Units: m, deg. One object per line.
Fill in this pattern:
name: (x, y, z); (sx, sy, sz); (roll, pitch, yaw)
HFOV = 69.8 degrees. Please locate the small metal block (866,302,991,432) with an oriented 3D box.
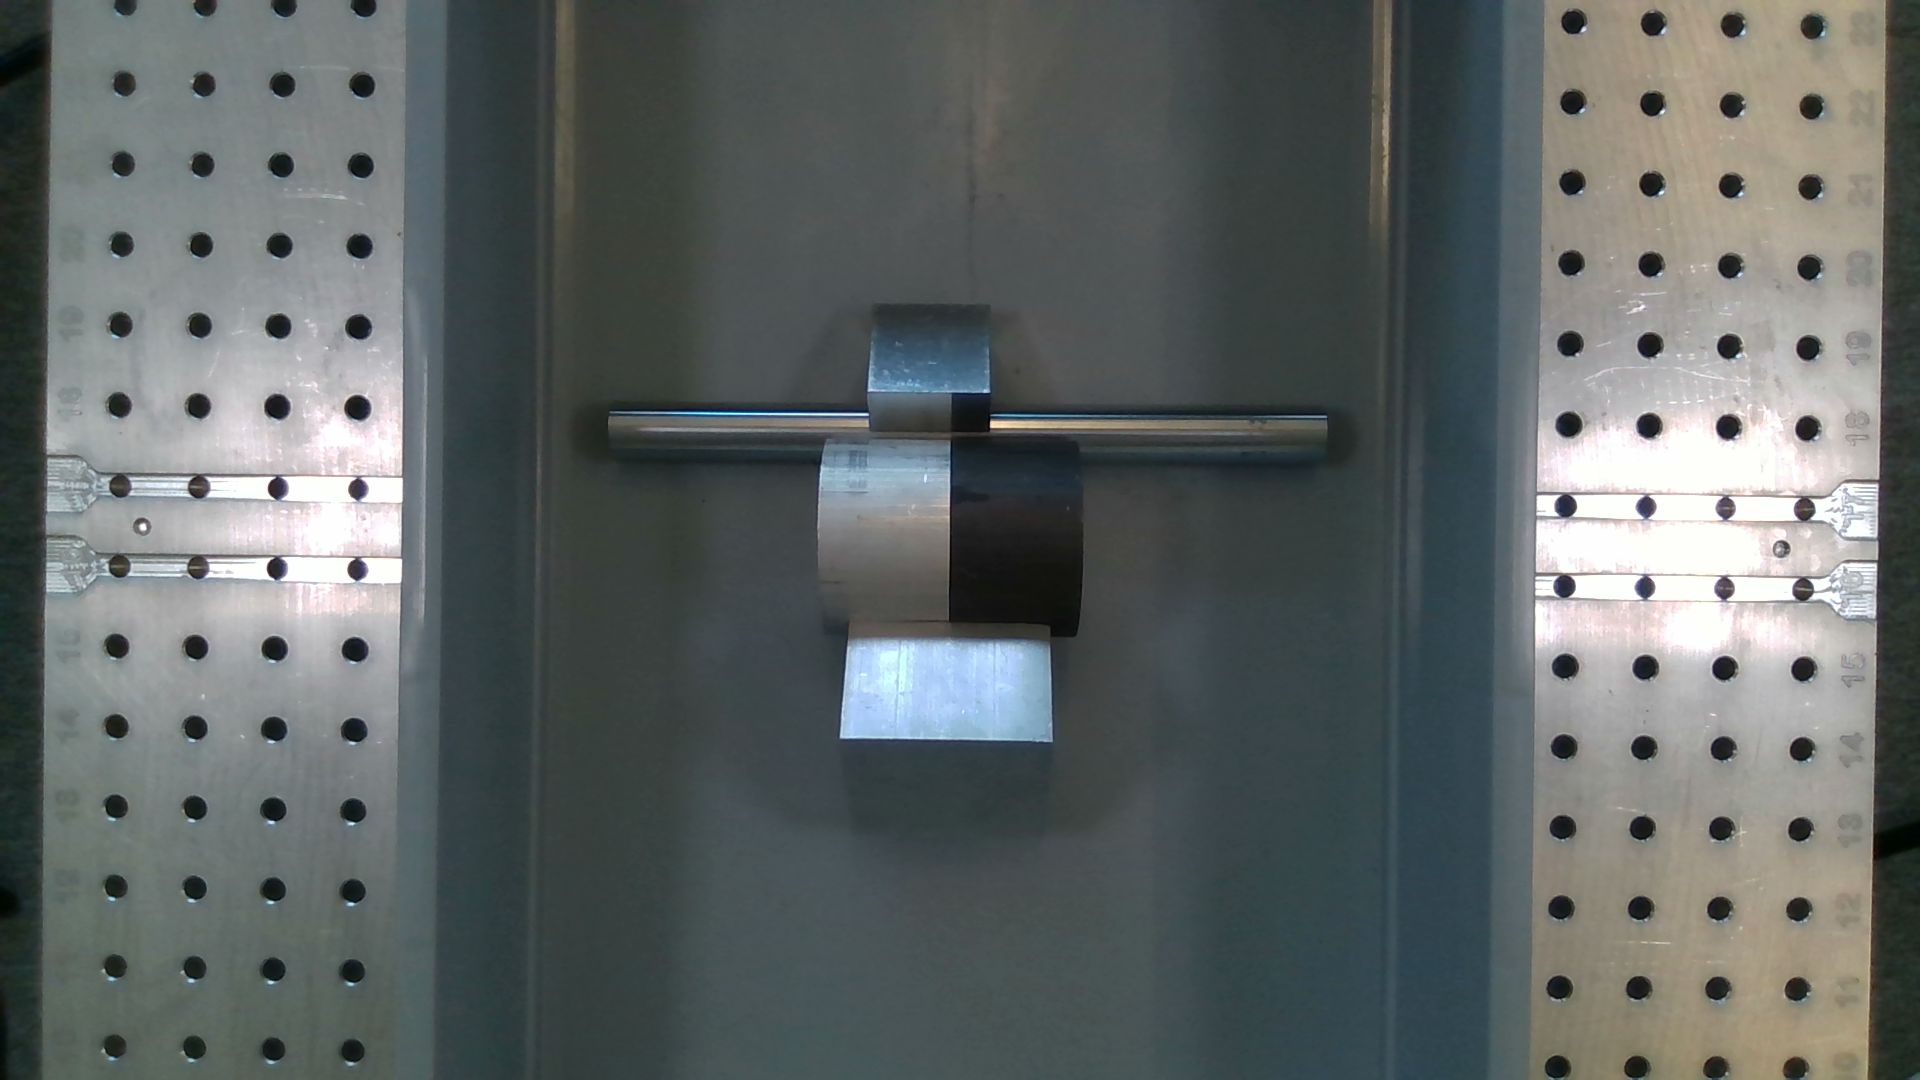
small metal block: (-0.013, -0.072, 0.574); (0.050, 0.025, 0.050); (0, 56, -1)

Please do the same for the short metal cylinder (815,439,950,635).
short metal cylinder: (-0.029, -0.001, 0.558); (0.050, 0.080, 0.080); (0, 90, 0)

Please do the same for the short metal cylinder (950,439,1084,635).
short metal cylinder: (0.021, -0.001, 0.558); (0.050, 0.080, 0.080); (0, 90, 0)

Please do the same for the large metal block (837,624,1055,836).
large metal block: (-0.005, 0.078, 0.552); (0.080, 0.080, 0.050); (1, 52, 0)

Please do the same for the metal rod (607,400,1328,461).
metal rod: (0.003, -0.046, 0.585); (0.300, 0.025, 0.025); (0, 90, 0)
